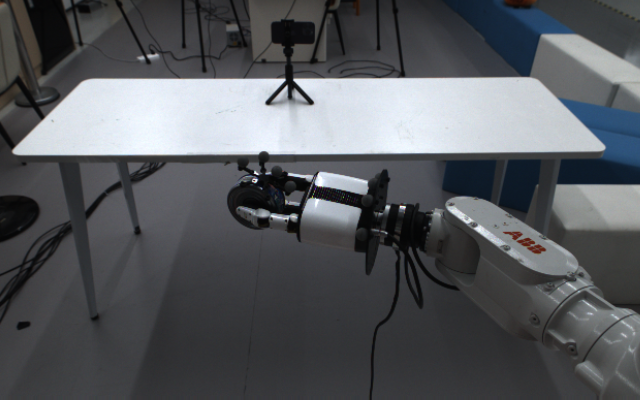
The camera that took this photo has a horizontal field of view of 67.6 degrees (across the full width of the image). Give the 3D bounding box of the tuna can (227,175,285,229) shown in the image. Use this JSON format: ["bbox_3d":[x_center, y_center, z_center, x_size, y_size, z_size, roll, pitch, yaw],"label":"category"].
[{"bbox_3d":[-0.097,0.010,0.746,0.085,0.085,0.034,12,35,14],"label":"tuna can"}]
